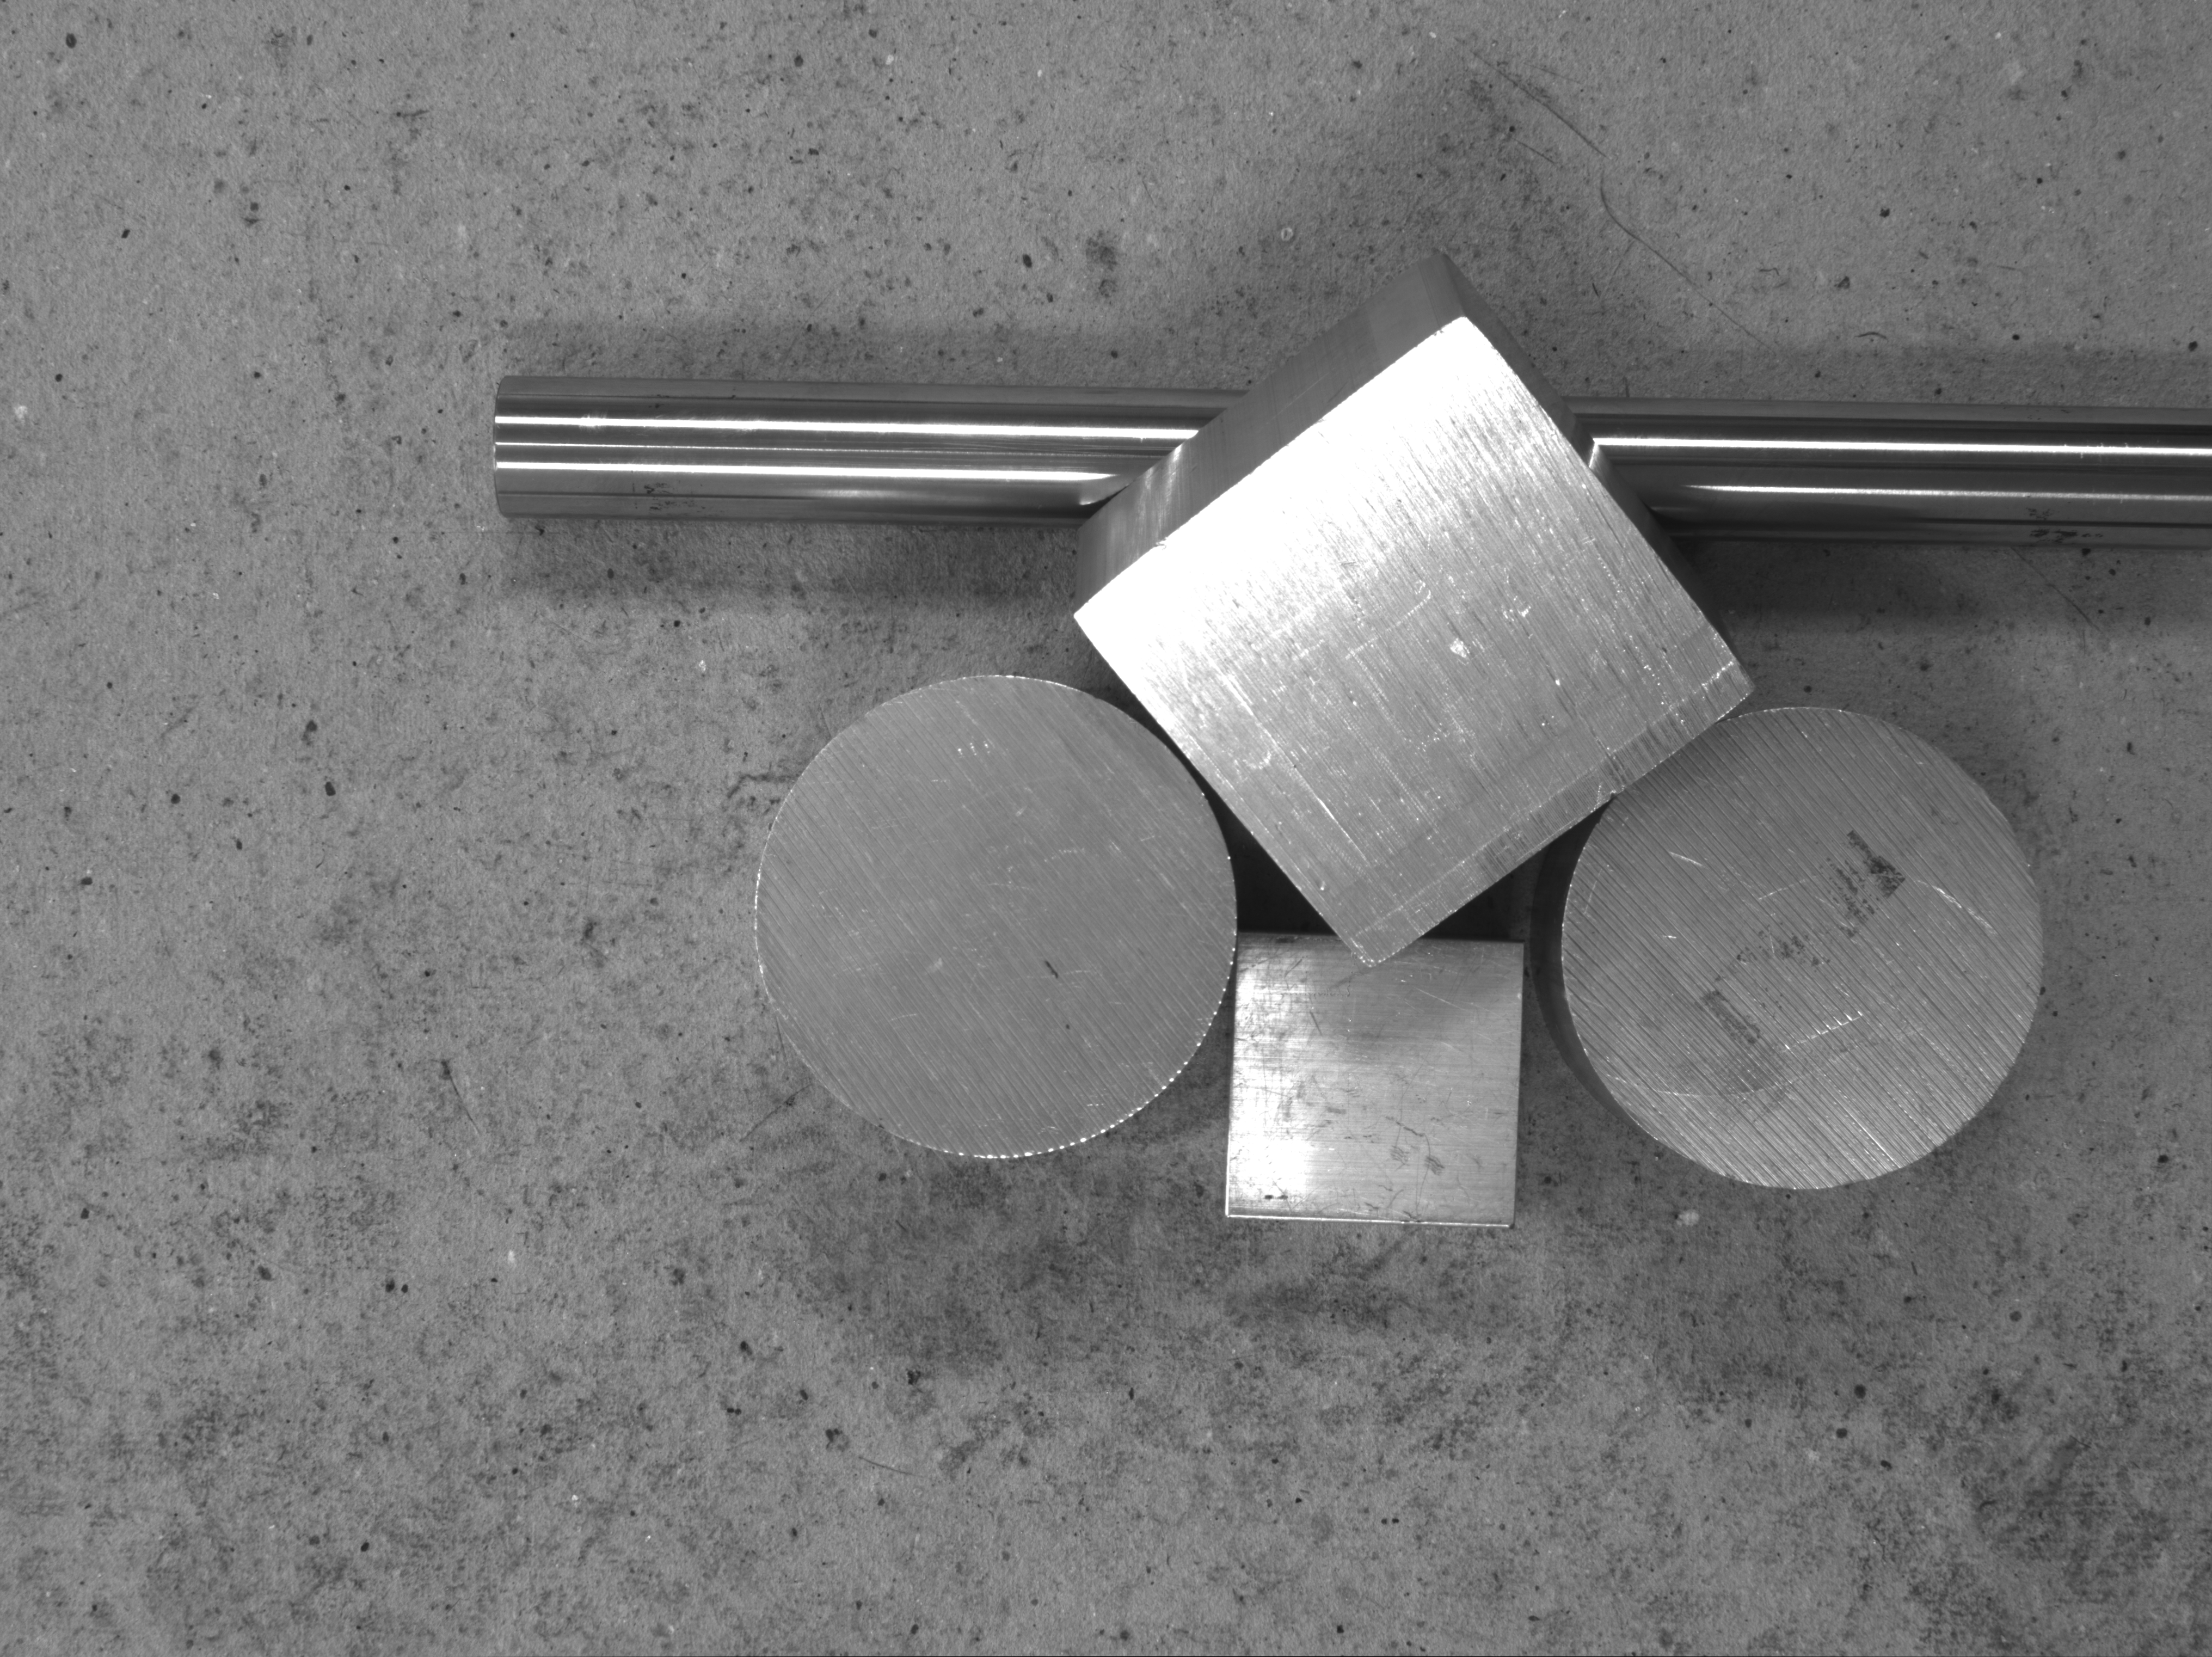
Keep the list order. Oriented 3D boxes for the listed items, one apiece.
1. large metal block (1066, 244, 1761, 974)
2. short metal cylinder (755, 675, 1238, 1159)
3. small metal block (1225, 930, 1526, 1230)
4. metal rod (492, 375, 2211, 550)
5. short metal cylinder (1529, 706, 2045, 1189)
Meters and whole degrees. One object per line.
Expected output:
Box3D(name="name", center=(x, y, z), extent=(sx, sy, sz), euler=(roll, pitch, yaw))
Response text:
Box3D(name="large metal block", center=(0.050, -0.037, 0.616), extent=(0.080, 0.050, 0.080), euler=(-37, 106, 13))
Box3D(name="short metal cylinder", center=(-0.018, 0.015, 0.633), extent=(0.080, 0.050, 0.080), euler=(0, 90, 0))
Box3D(name="small metal block", center=(0.047, 0.043, 0.647), extent=(0.050, 0.025, 0.050), euler=(2, 90, 0))
Box3D(name="metal rod", center=(0.044, -0.064, 0.646), extent=(0.300, 0.025, 0.025), euler=(1, 90, 0))
Box3D(name="short metal cylinder", center=(0.116, 0.020, 0.633), extent=(0.080, 0.050, 0.080), euler=(0, 90, 0))
